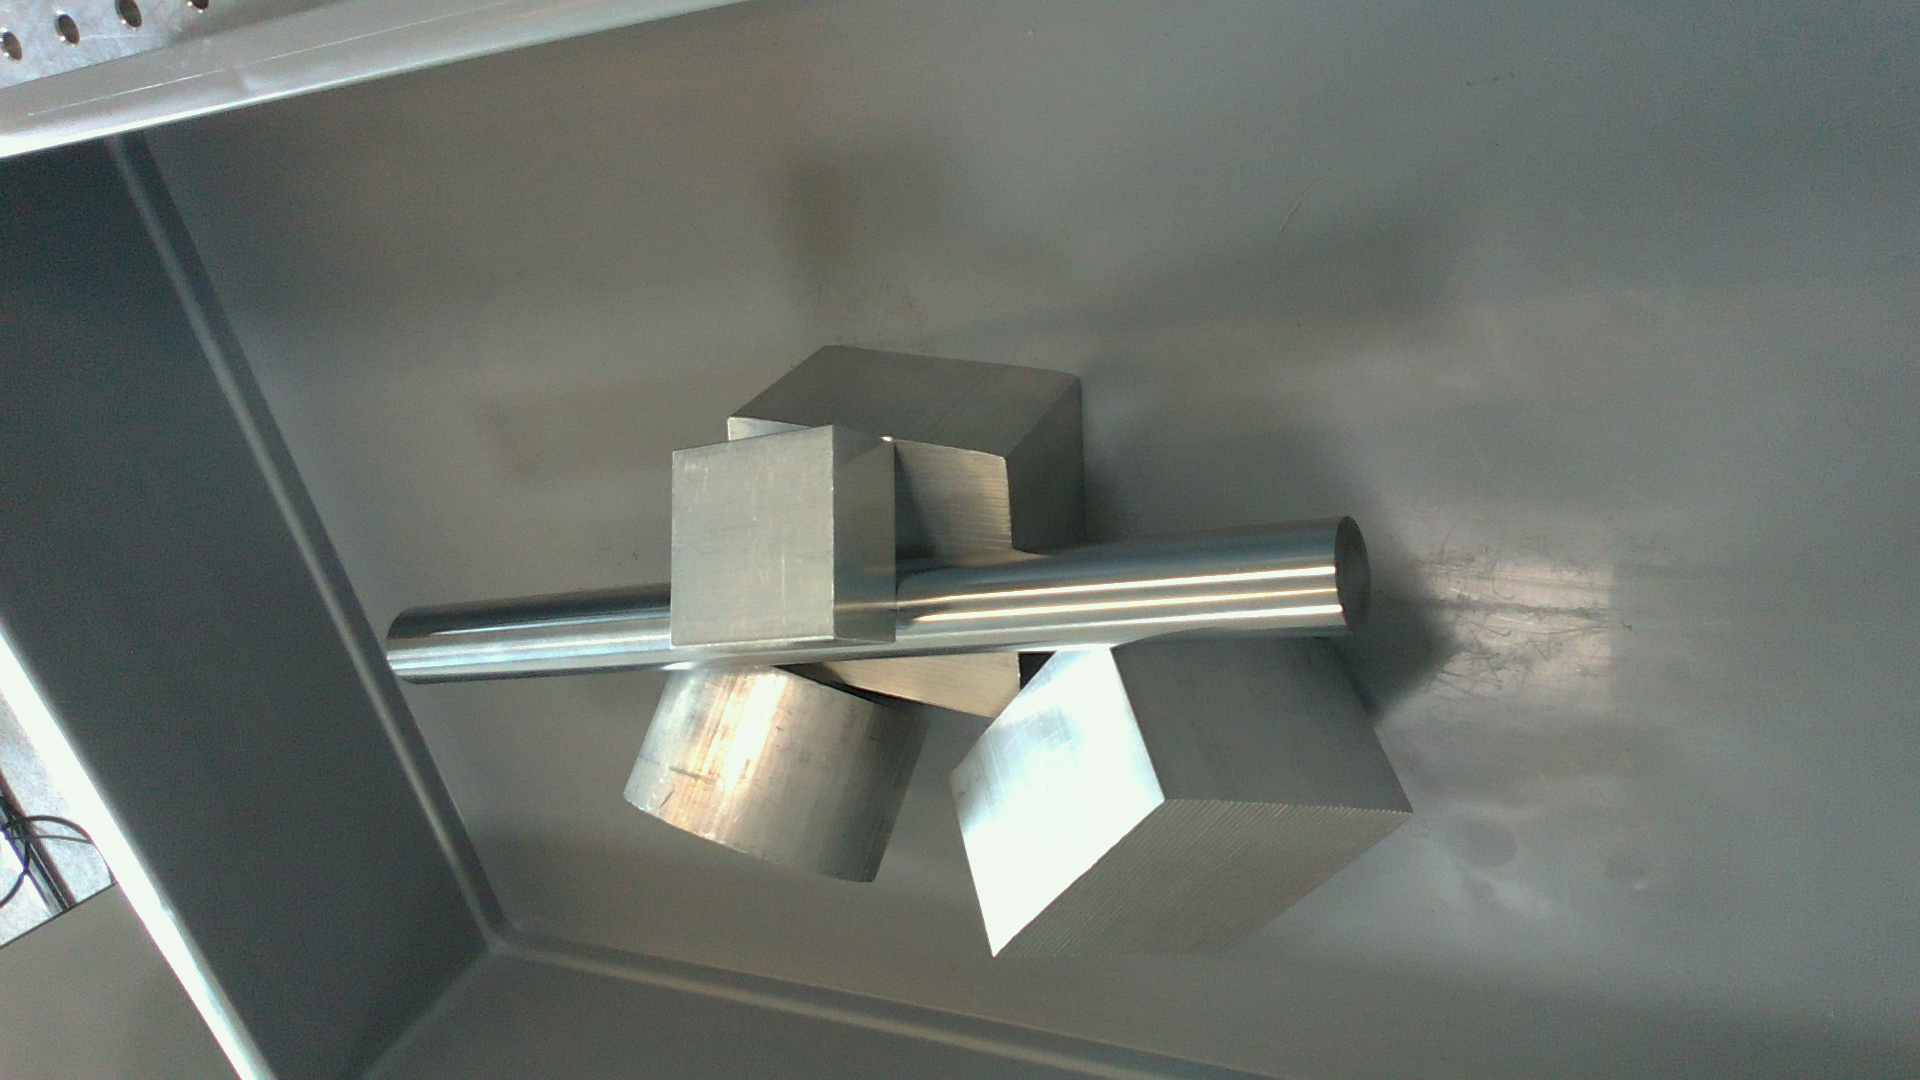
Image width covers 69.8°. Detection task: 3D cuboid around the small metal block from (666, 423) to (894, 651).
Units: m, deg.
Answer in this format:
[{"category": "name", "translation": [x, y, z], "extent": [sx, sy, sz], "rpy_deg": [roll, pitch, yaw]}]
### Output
[{"category": "small metal block", "translation": [-0.044, 0.001, 0.336], "extent": [0.050, 0.025, 0.050], "rpy_deg": [-6, 81, 31]}]

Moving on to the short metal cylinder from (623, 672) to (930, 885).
[{"category": "short metal cylinder", "translation": [-0.055, 0.066, 0.418], "extent": [0.080, 0.080, 0.050], "rpy_deg": [18, 83, 18]}]

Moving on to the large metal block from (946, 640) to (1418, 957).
[{"category": "large metal block", "translation": [0.055, 0.067, 0.359], "extent": [0.080, 0.050, 0.080], "rpy_deg": [8, 137, -30]}]

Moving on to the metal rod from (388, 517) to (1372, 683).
[{"category": "metal rod", "translation": [-0.045, 0.020, 0.363], "extent": [0.299, 0.025, 0.025], "rpy_deg": [-6, 116, 31]}]

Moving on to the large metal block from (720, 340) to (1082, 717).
[{"category": "large metal block", "translation": [-0.013, -0.004, 0.379], "extent": [0.080, 0.050, 0.080], "rpy_deg": [10, 123, 23]}]
